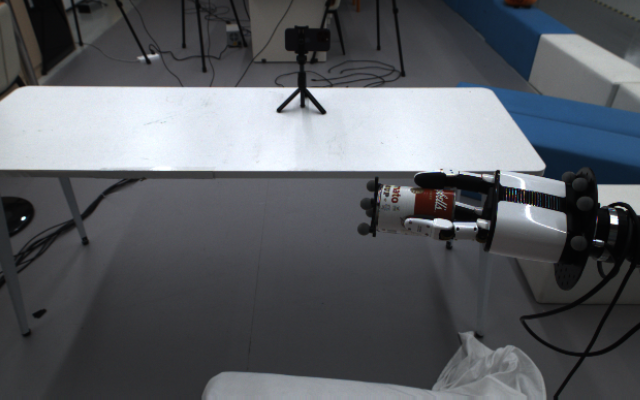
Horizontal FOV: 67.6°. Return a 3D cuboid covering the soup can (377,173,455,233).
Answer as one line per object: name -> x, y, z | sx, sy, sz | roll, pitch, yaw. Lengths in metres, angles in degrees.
soup can -> 0.134, 0.015, 0.666 | 0.101, 0.067, 0.067 | 5, 35, 13
